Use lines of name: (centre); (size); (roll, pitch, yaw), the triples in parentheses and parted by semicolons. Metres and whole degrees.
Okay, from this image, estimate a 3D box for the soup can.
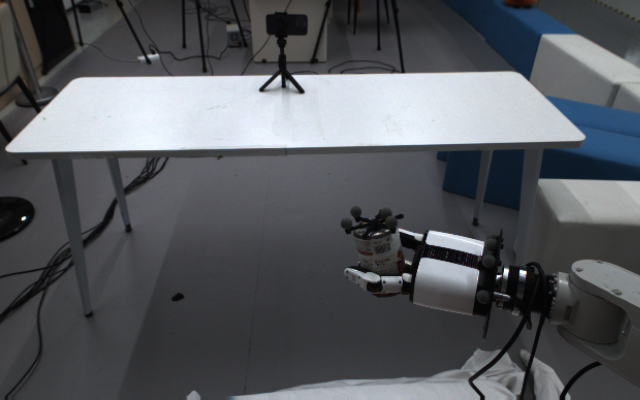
soup can: (0.094, 0.084, 0.724); (0.067, 0.101, 0.067); (-13, 20, 5)
